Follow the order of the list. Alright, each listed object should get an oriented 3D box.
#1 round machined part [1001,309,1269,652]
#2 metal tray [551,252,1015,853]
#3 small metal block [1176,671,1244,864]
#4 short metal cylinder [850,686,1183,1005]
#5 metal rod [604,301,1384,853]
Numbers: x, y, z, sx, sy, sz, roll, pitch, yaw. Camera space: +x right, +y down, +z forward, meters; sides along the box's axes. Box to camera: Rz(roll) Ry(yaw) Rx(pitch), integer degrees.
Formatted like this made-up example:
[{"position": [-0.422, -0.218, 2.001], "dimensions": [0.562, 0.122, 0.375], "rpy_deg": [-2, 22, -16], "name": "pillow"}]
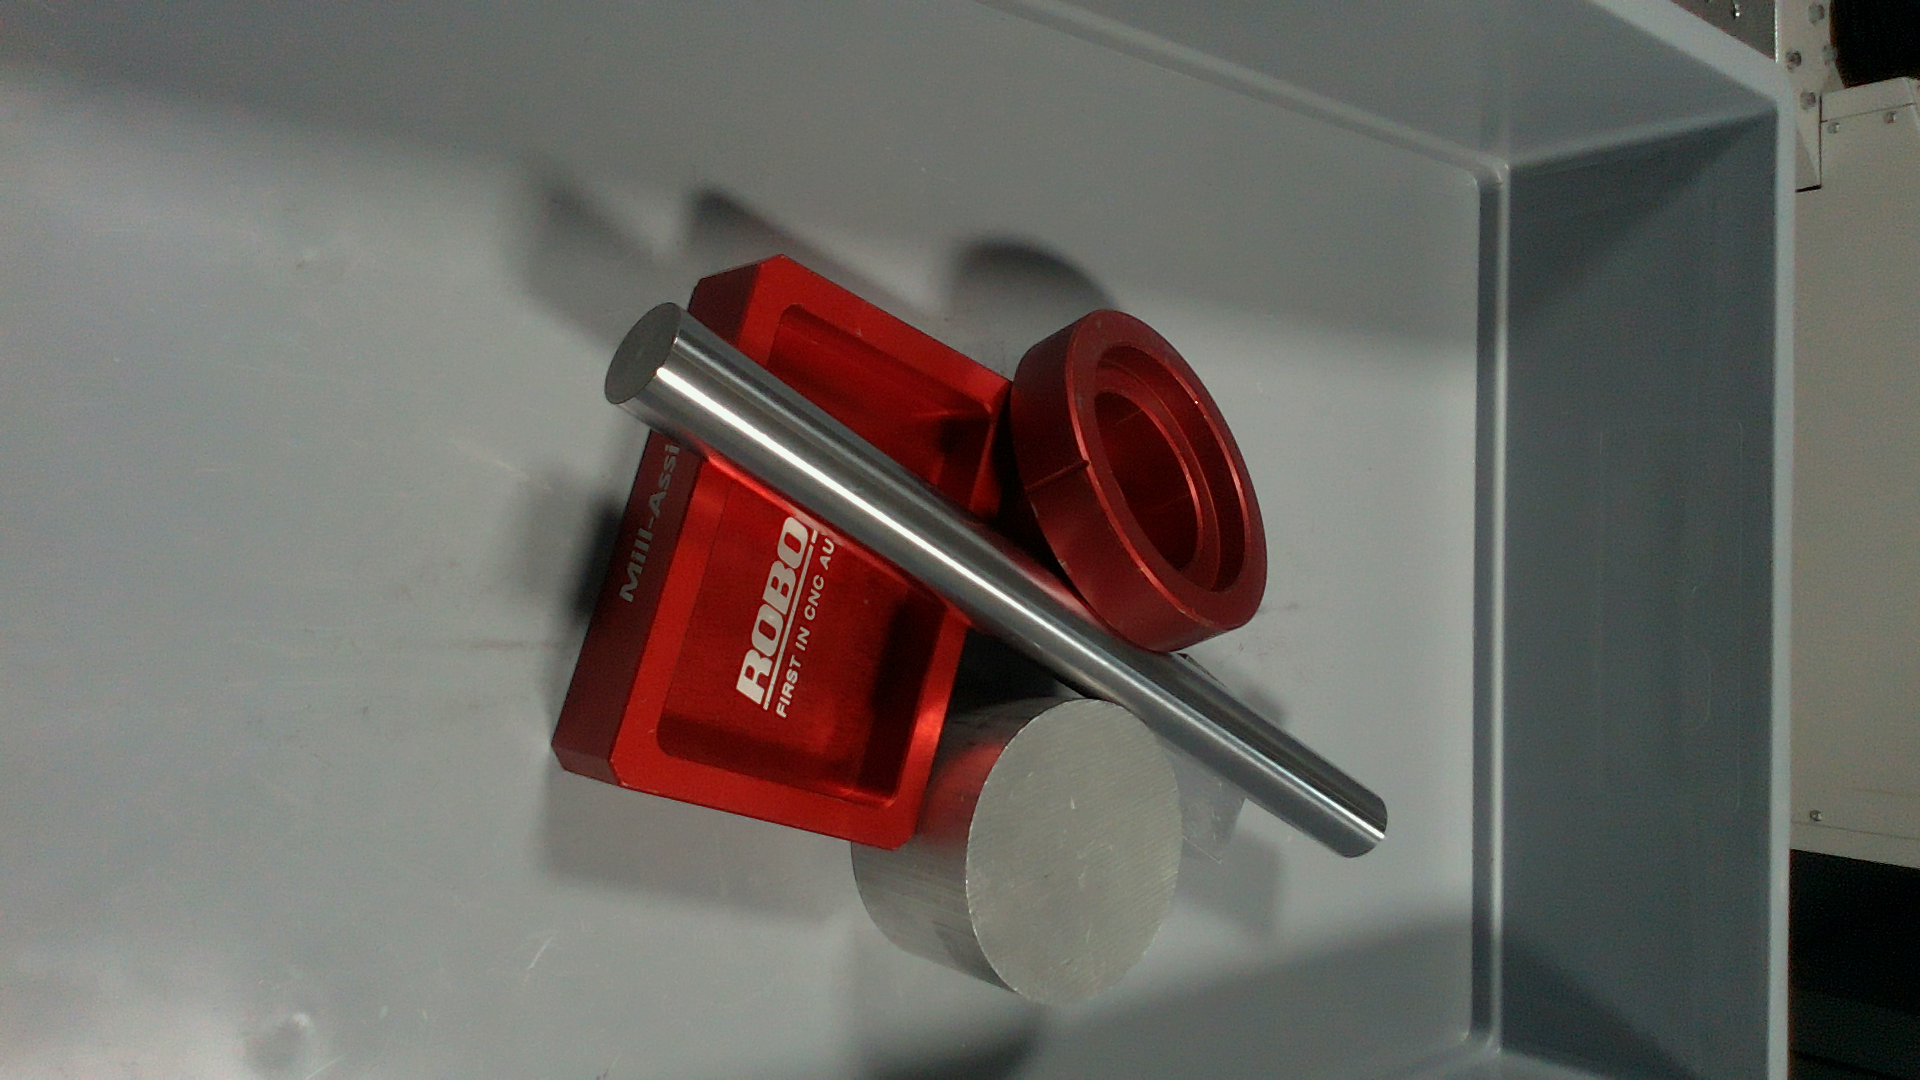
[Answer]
[{"position": [0.046, -0.014, 0.398], "dimensions": [0.098, 0.042, 0.098], "rpy_deg": [32, 45, -39], "name": "round machined part"}, {"position": [-0.039, 0.005, 0.350], "dimensions": [0.090, 0.030, 0.130], "rpy_deg": [23, 75, -37], "name": "metal tray"}, {"position": [0.069, 0.070, 0.445], "dimensions": [0.050, 0.025, 0.050], "rpy_deg": [39, 67, -33], "name": "small metal block"}, {"position": [0.017, 0.082, 0.384], "dimensions": [0.080, 0.050, 0.080], "rpy_deg": [0, 90, -40], "name": "short metal cylinder"}, {"position": [0.033, 0.028, 0.378], "dimensions": [0.301, 0.025, 0.025], "rpy_deg": [34, 69, -37], "name": "metal rod"}]
